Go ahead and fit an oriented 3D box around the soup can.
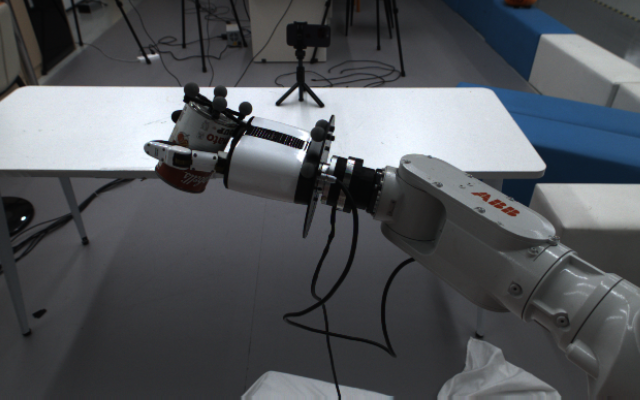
[{"bbox_3d":[-0.154,-0.067,0.604,0.067,0.101,0.067,28,18,-10],"label":"soup can"}]
